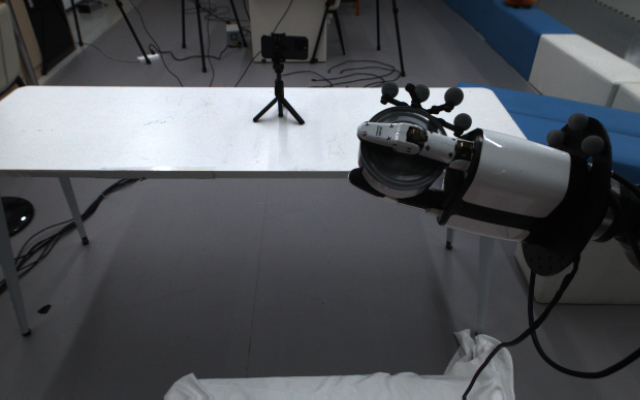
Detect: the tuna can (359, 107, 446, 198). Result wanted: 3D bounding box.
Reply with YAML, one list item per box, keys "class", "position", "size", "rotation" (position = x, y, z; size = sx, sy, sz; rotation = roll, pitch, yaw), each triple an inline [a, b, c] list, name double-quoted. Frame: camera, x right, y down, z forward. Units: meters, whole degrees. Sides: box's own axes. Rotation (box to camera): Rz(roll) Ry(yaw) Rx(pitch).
- class: "tuna can"
  position: [0.082, -0.049, 0.476]
  size: [0.085, 0.034, 0.085]
  rotation: [0, 72, 0]
